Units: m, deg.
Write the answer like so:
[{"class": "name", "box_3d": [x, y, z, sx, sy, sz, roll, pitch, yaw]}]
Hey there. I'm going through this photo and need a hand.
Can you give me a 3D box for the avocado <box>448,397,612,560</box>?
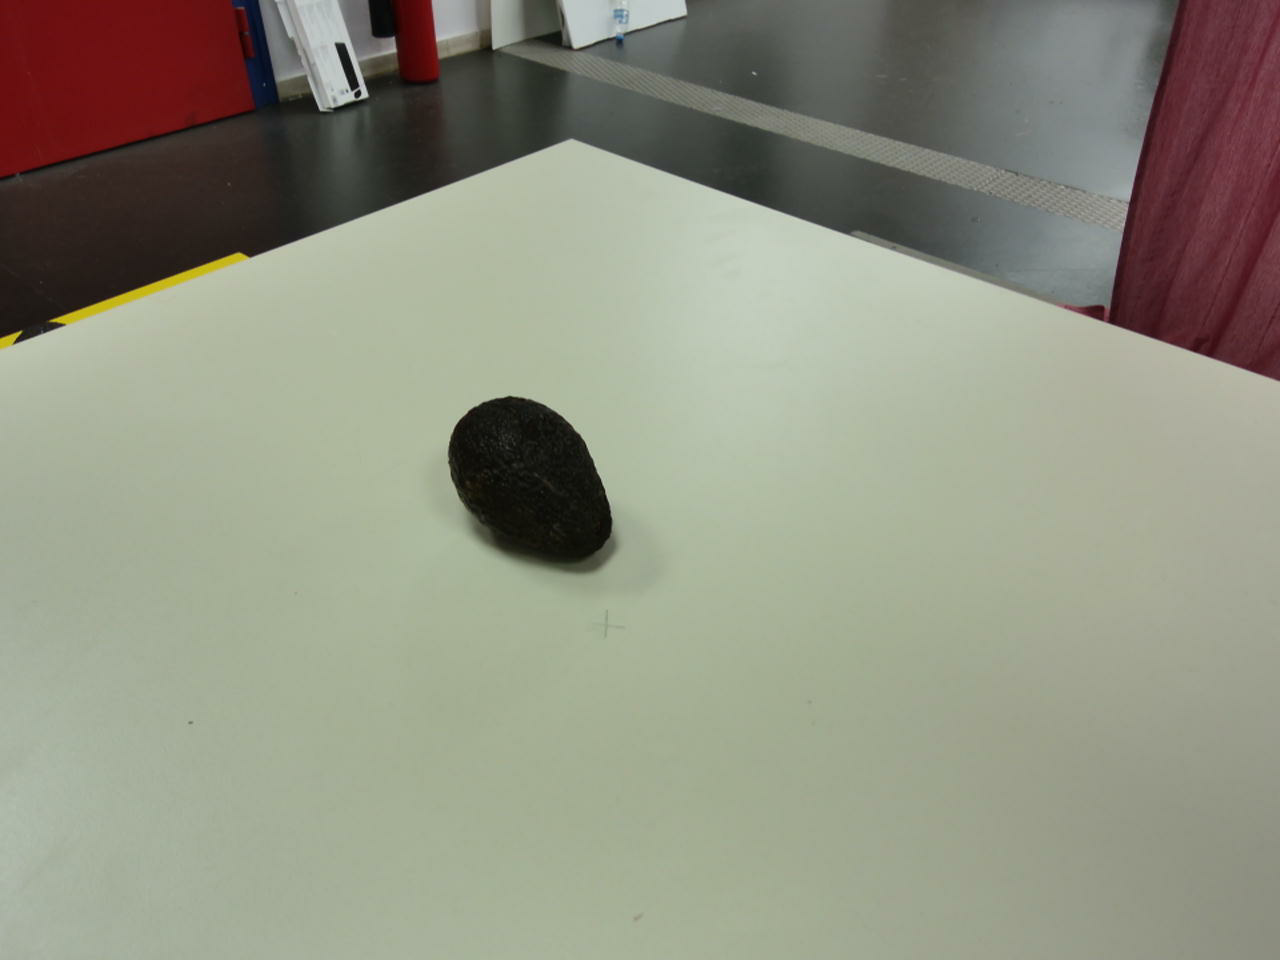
[{"class": "avocado", "box_3d": [-0.057, -0.002, 0.502, 0.070, 0.069, 0.090, -14, 40, -20]}]
